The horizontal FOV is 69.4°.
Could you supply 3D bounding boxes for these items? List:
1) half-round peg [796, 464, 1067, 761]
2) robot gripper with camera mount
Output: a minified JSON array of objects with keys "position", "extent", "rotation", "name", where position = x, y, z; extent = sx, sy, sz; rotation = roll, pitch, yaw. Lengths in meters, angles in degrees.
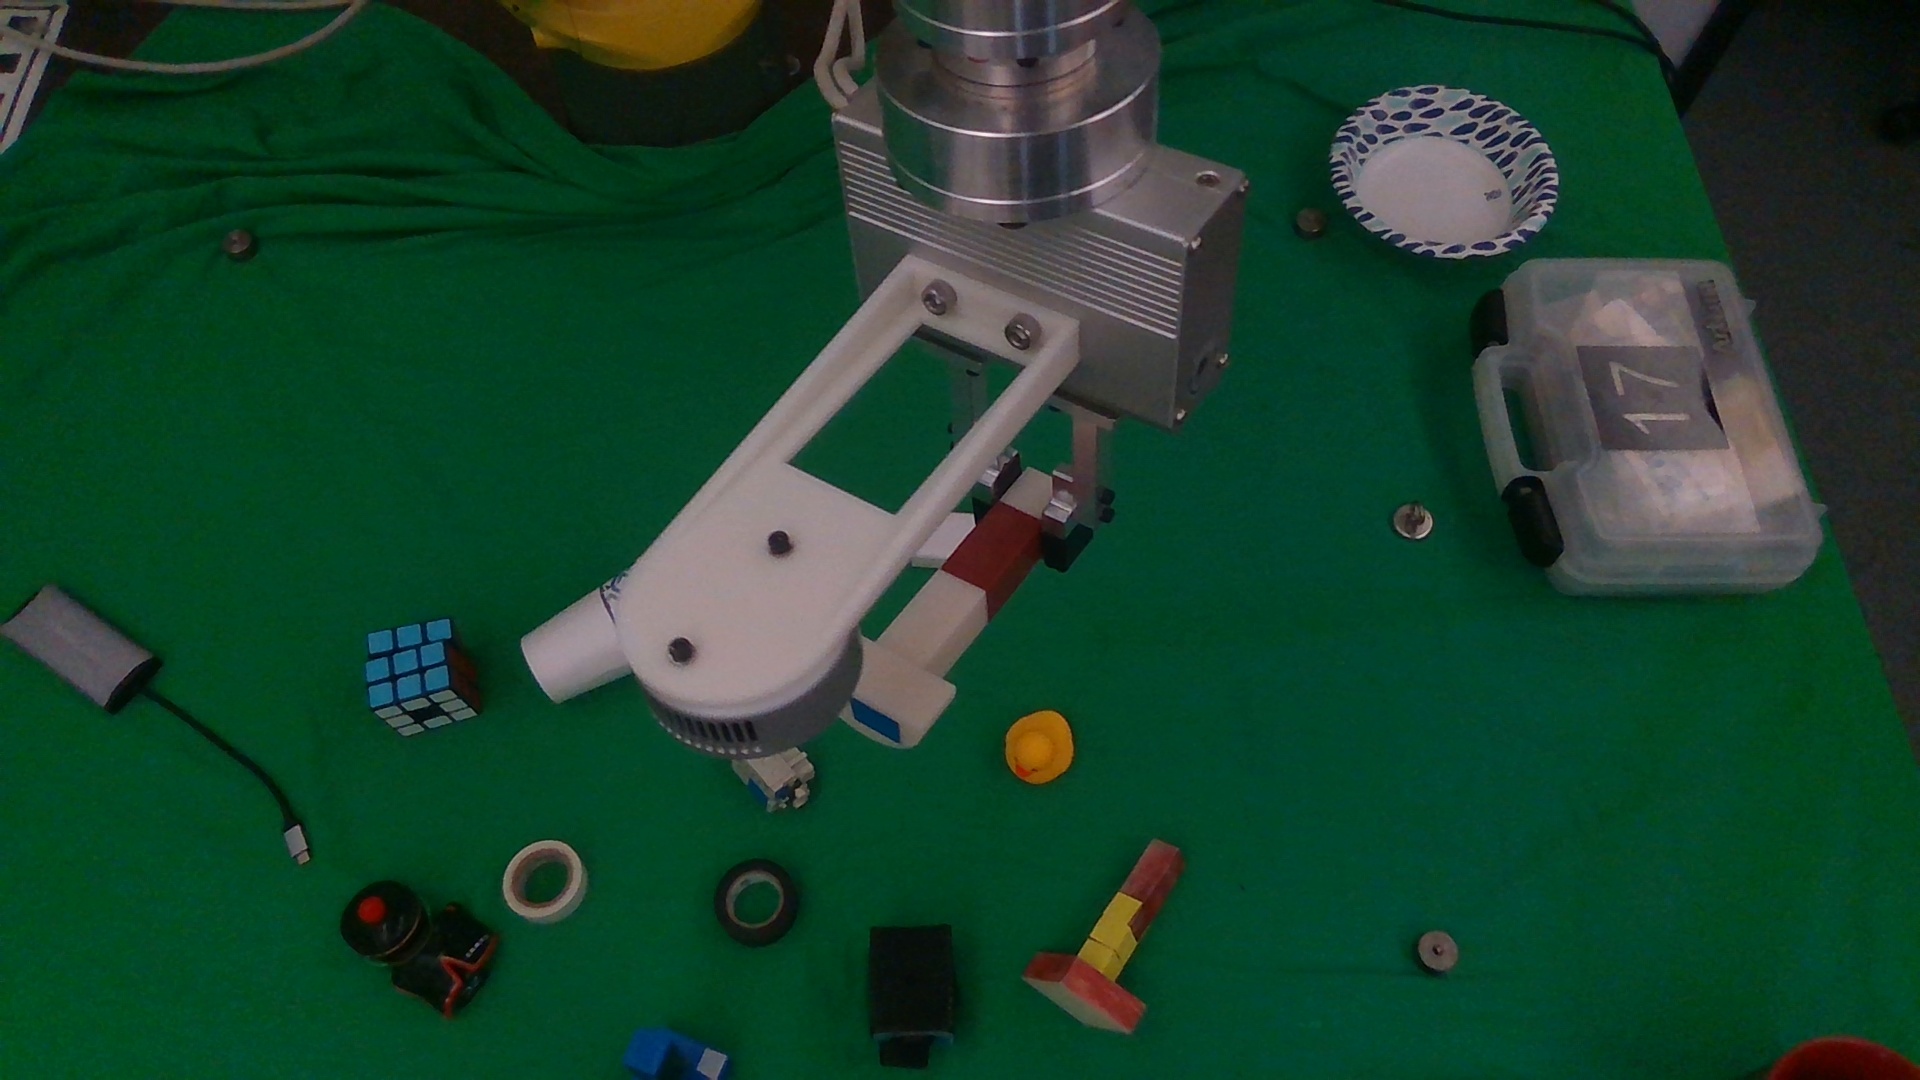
[{"position":[0.000,0.021,0.479],"extent":[0.054,0.031,0.121],"rotation":[26,55,23],"name":"half-round peg"},{"position":[-0.015,0.003,0.414],"extent":[0.119,0.158,0.193],"rotation":[24,58,22],"name":"robot gripper with camera mount"}]
